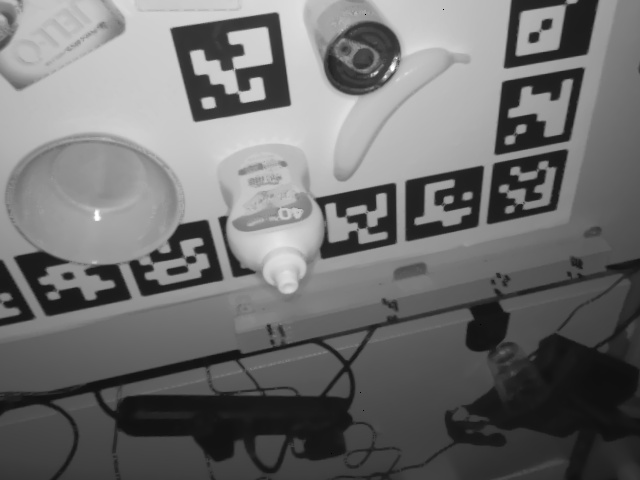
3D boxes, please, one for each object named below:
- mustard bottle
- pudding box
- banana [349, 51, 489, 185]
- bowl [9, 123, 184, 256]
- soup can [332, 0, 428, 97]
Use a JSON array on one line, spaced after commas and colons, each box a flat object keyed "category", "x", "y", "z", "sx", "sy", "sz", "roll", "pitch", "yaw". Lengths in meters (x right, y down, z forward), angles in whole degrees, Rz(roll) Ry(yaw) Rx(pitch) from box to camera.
[{"category": "mustard bottle", "x": -0.037, "y": -0.022, "z": 0.673, "sx": 0.097, "sy": 0.192, "sz": 0.058, "roll": -8, "pitch": 134, "yaw": -7}, {"category": "pudding box", "x": -0.223, "y": -0.206, "z": 0.580, "sx": 0.113, "sy": 0.039, "sz": 0.090, "roll": -27, "pitch": 126, "yaw": 8}, {"category": "banana", "x": 0.089, "y": -0.132, "z": 0.733, "sx": 0.075, "sy": 0.039, "sz": 0.195, "roll": 22, "pitch": 122, "yaw": -42}, {"category": "bowl", "x": -0.221, "y": -0.060, "z": 0.698, "sx": 0.163, "sy": 0.055, "sz": 0.160, "roll": -9, "pitch": 132, "yaw": -10}, {"category": "soup can", "x": 0.051, "y": -0.183, "z": 0.623, "sx": 0.068, "sy": 0.102, "sz": 0.067, "roll": -7, "pitch": 133, "yaw": -7}]
